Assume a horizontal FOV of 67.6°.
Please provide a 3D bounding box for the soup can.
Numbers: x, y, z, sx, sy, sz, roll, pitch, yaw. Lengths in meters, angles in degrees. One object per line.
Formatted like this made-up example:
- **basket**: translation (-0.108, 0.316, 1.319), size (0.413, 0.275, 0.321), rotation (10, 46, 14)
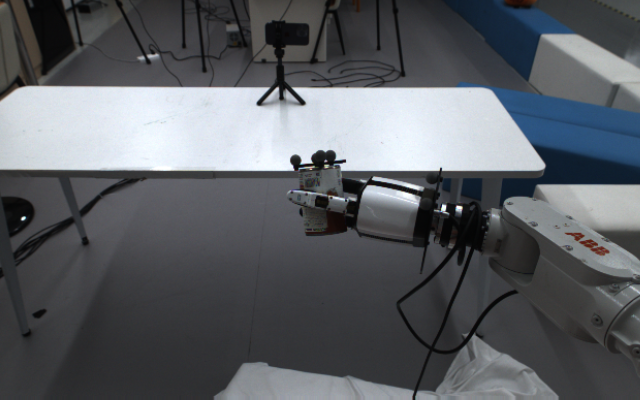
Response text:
- **soup can**: translation (0.006, 0.002, 0.743), size (0.067, 0.101, 0.067), rotation (-7, 3, 0)
